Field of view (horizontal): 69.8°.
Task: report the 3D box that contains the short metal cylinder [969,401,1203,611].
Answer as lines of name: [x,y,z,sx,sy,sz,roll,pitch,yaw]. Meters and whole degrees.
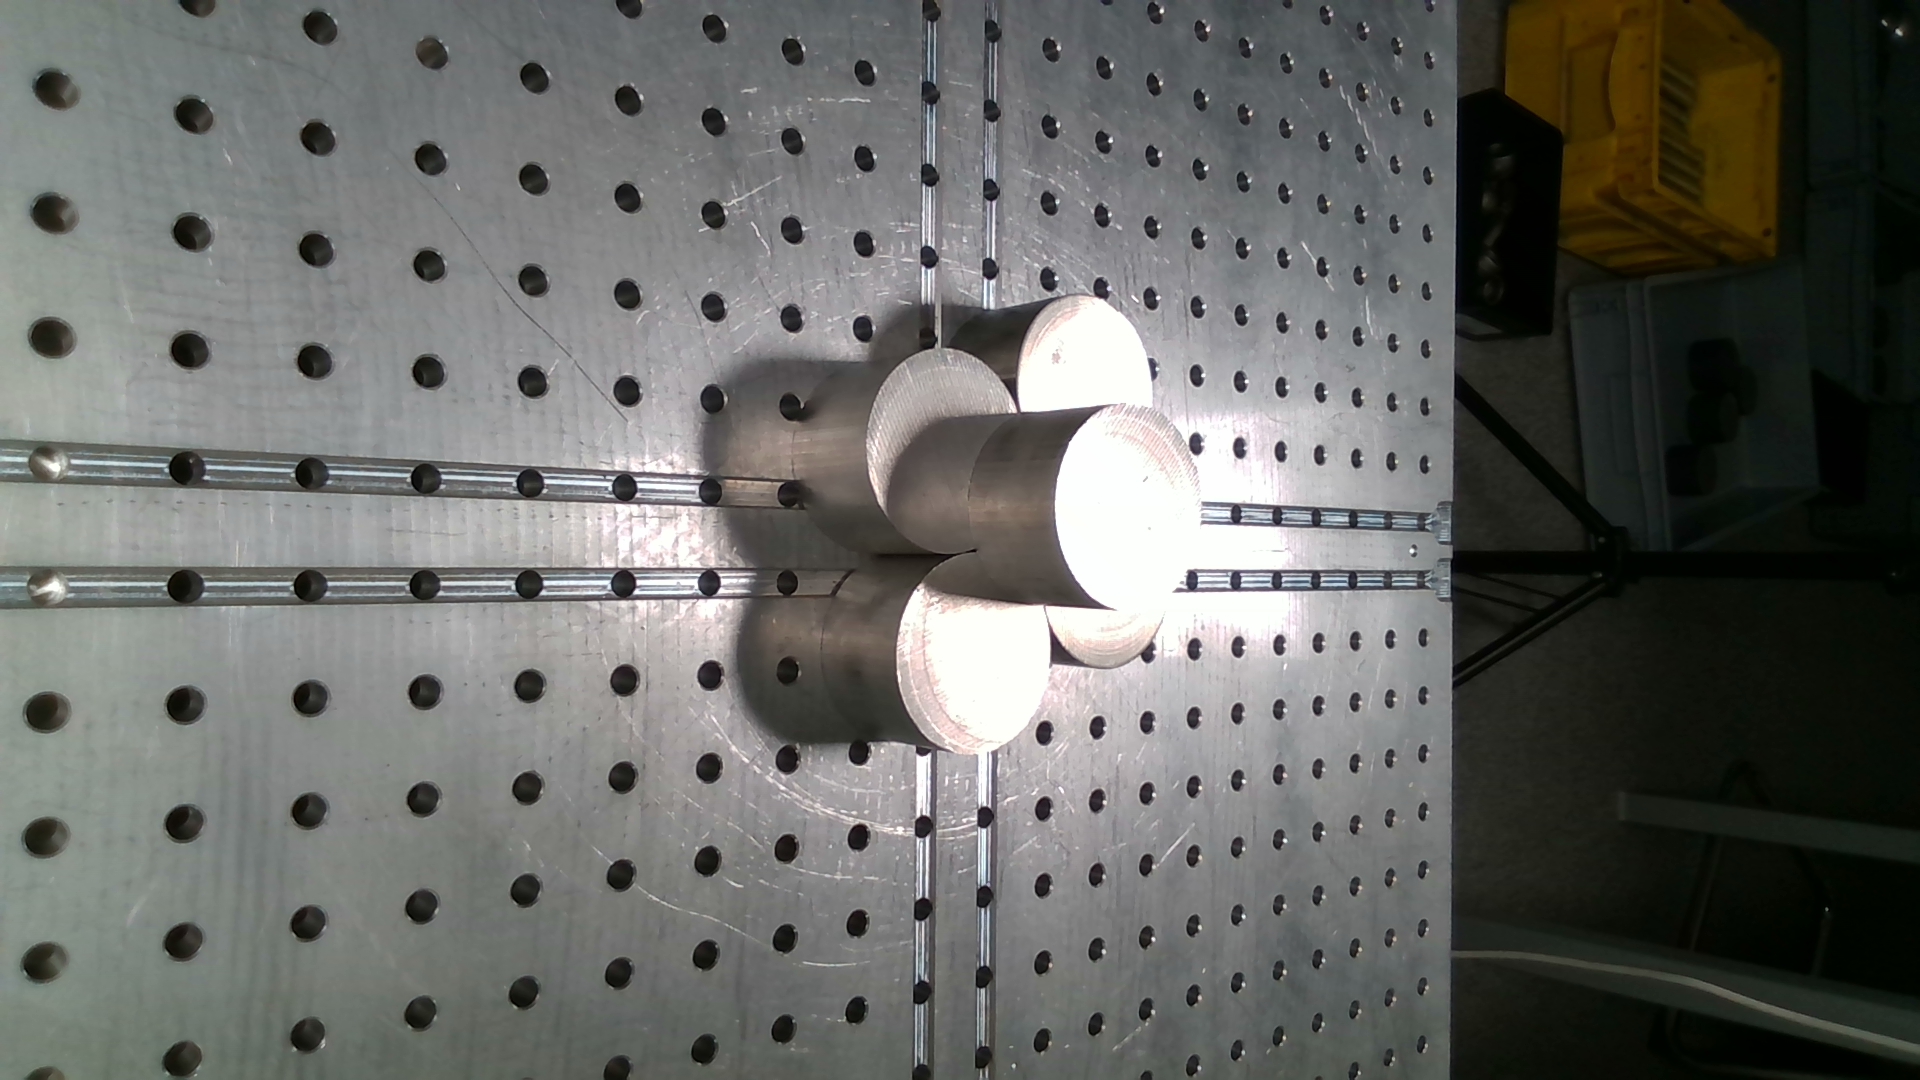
short metal cylinder: [0.050,-0.013,0.545,0.080,0.050,0.080,-1,91,-39]

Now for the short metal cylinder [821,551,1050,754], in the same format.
short metal cylinder: [-0.009,0.044,0.561,0.080,0.050,0.080,0,90,-40]

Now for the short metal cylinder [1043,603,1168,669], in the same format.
short metal cylinder: [0.048,0.015,0.609,0.080,0.050,0.080,0,90,-40]

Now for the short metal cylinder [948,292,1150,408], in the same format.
short metal cylinder: [0.037,-0.064,0.600,0.080,0.050,0.080,0,90,-40]

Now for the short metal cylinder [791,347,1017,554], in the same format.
short metal cylinder: [-0.020,-0.034,0.552,0.080,0.050,0.080,0,90,-40]
